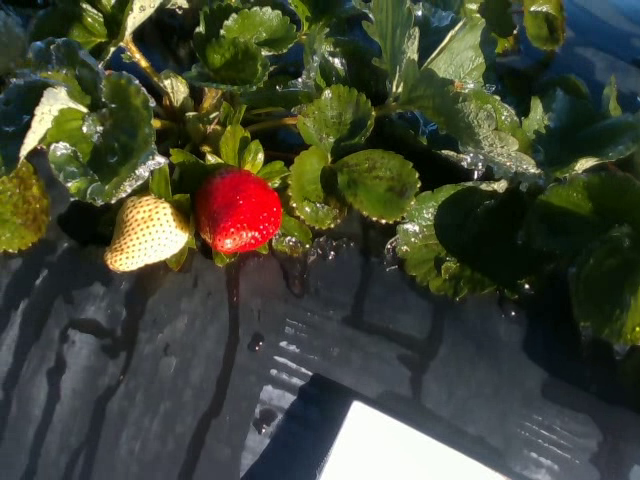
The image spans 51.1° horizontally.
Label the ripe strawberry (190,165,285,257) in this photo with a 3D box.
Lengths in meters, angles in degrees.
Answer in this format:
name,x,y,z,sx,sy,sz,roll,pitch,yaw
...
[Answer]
name,x,y,z,sx,sy,sz,roll,pitch,yaw
ripe strawberry,-0.039,-0.006,0.314,0.042,0.046,0.061,10,28,5
